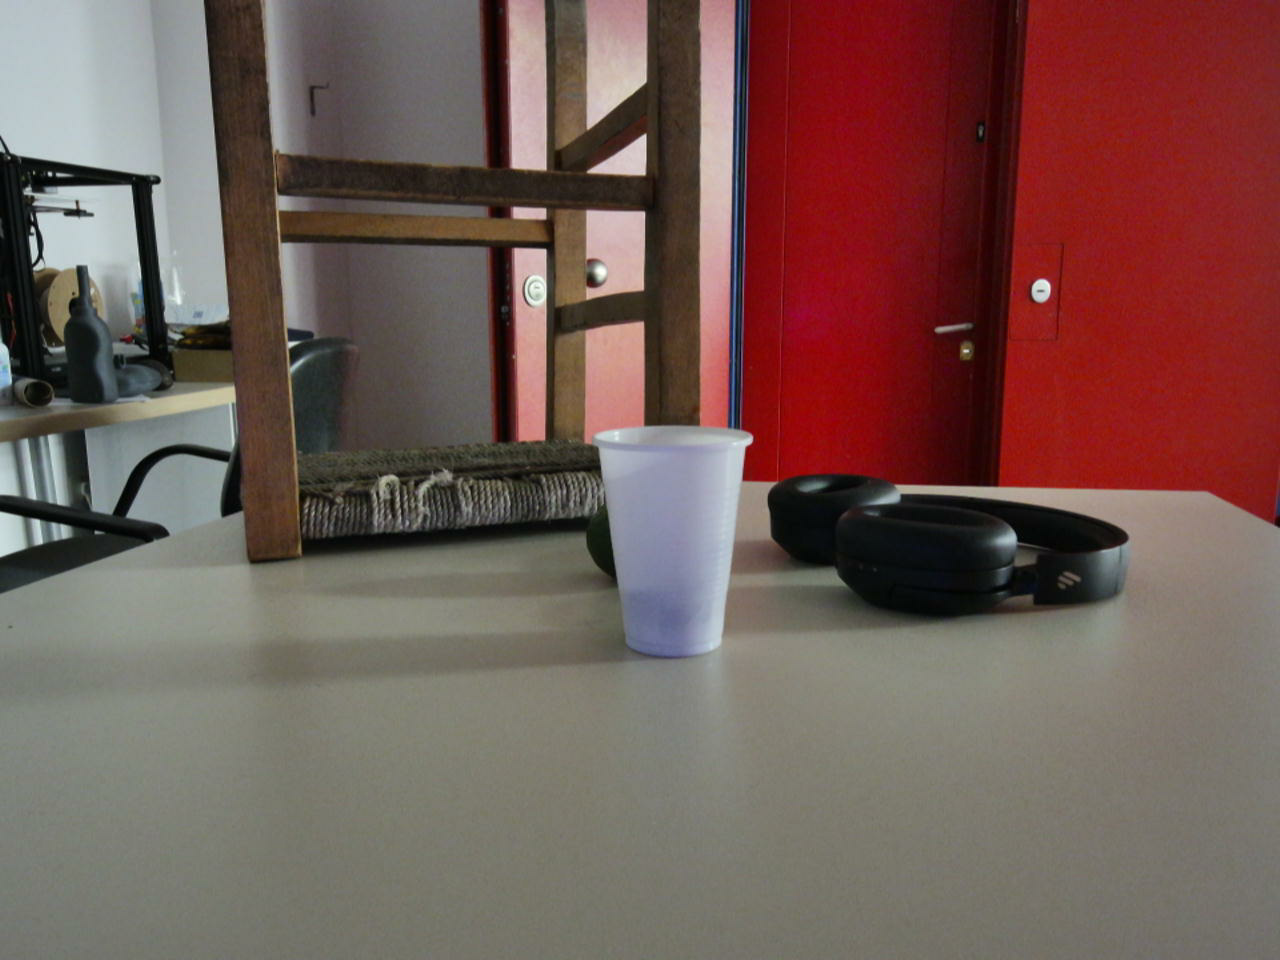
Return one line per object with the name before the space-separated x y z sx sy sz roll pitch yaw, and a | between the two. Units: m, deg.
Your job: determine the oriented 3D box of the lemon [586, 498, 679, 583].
lemon | -0.004 0.036 0.615 0.057 0.051 0.054 0 8 7
